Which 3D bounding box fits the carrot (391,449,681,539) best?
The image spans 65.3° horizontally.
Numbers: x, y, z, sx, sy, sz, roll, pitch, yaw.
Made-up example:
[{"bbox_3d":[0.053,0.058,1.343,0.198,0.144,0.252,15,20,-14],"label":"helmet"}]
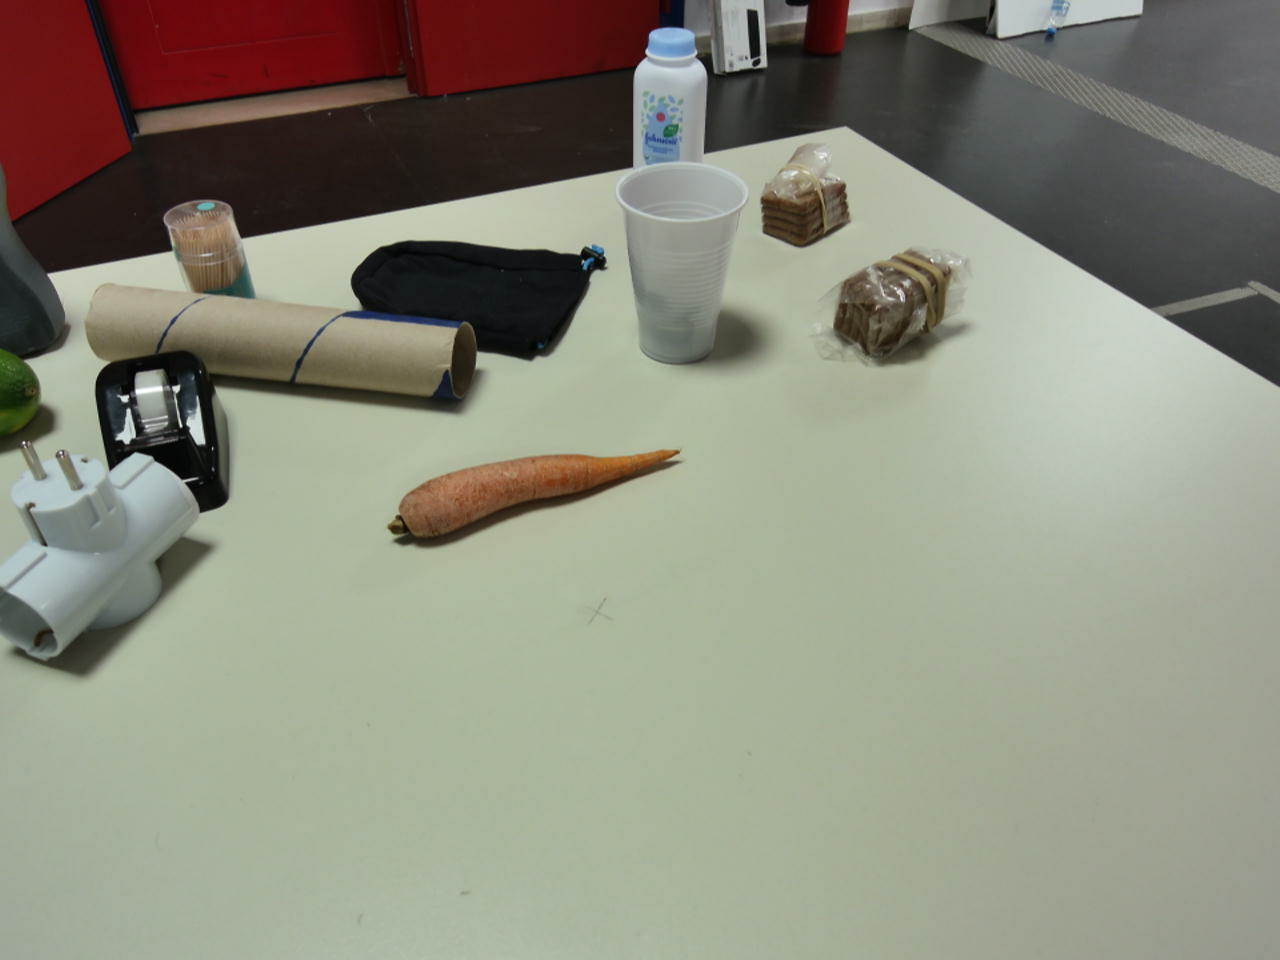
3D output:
[{"bbox_3d":[-0.053,-0.002,0.538,0.163,0.029,0.031,-16,41,-20],"label":"carrot"}]
